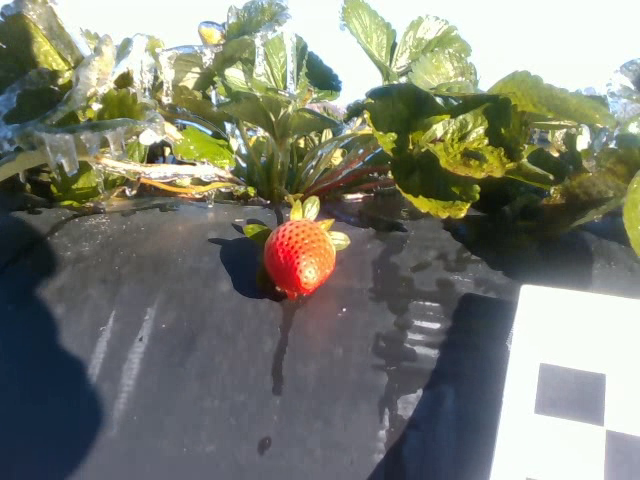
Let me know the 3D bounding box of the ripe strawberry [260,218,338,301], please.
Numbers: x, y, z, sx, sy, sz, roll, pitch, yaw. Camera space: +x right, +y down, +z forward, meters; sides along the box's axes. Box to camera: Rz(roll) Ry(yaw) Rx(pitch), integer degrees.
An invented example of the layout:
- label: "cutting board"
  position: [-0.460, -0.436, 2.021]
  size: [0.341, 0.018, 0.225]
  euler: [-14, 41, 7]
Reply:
- label: "ripe strawberry"
  position: [-0.008, 0.010, 0.276]
  size: [0.039, 0.041, 0.053]
  euler: [-8, 22, 4]
